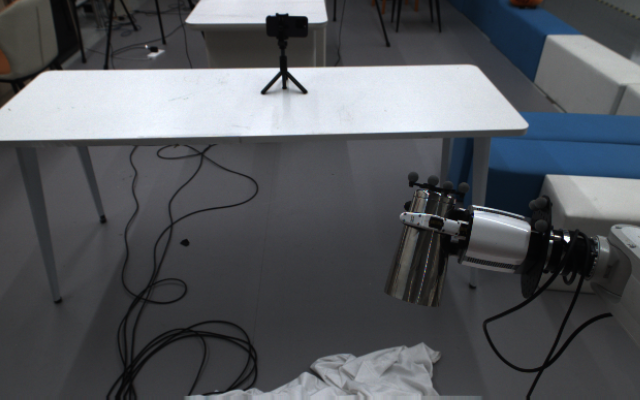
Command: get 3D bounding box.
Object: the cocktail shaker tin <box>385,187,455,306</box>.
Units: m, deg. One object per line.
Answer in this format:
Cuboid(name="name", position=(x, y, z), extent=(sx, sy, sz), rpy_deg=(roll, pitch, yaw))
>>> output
Cuboid(name="cocktail shaker tin", position=(0.168, 0.070, 0.771), extent=(0.093, 0.170, 0.093), rpy_deg=(13, 1, 0))
